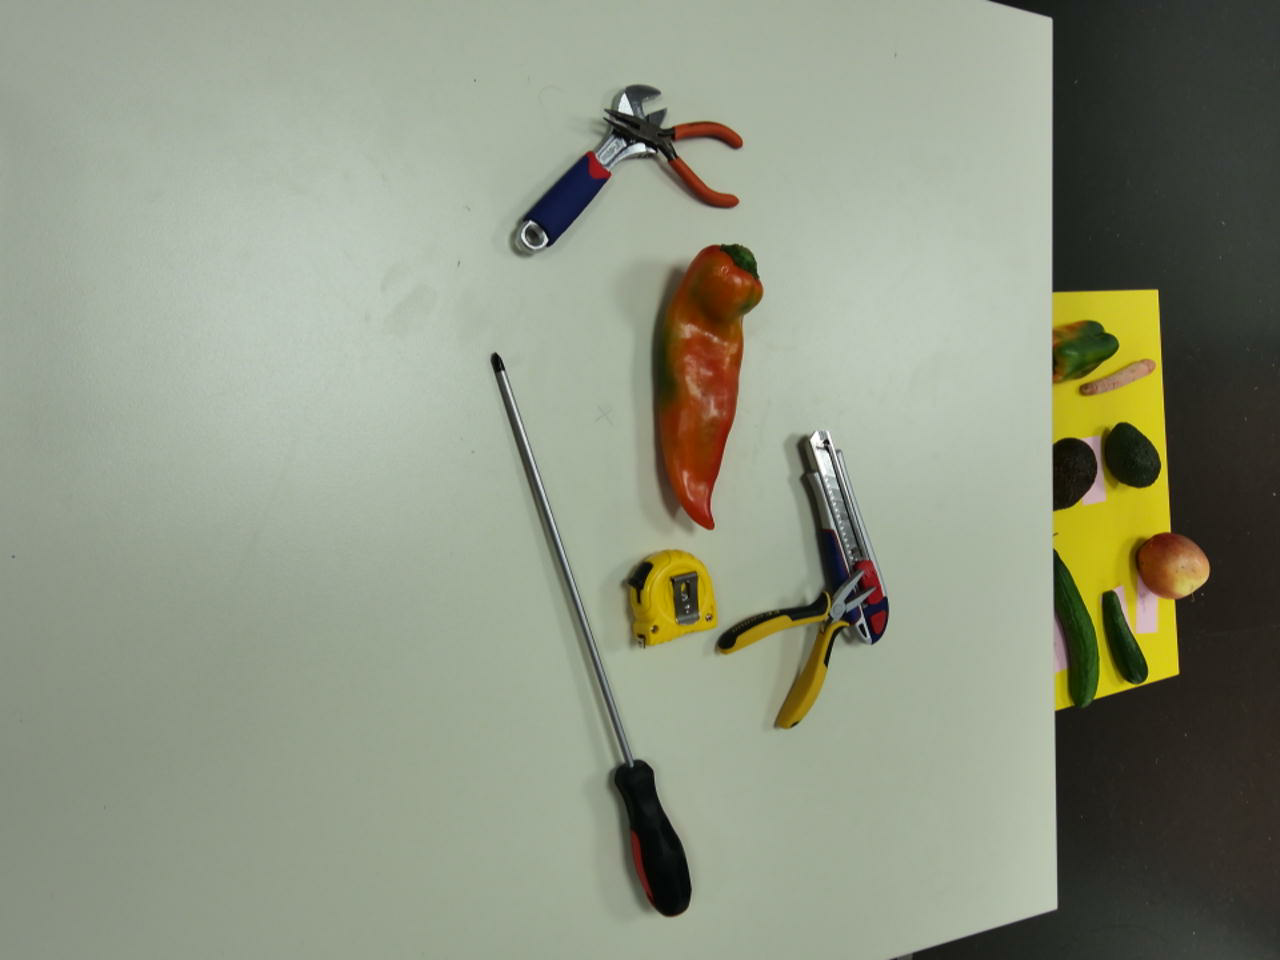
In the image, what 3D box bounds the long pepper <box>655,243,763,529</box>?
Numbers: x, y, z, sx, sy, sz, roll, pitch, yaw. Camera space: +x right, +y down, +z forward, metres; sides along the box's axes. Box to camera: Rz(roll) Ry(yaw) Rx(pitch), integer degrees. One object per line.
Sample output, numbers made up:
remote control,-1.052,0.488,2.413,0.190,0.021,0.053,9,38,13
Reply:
long pepper,0.050,-0.066,0.698,0.066,0.065,0.199,5,88,-28
